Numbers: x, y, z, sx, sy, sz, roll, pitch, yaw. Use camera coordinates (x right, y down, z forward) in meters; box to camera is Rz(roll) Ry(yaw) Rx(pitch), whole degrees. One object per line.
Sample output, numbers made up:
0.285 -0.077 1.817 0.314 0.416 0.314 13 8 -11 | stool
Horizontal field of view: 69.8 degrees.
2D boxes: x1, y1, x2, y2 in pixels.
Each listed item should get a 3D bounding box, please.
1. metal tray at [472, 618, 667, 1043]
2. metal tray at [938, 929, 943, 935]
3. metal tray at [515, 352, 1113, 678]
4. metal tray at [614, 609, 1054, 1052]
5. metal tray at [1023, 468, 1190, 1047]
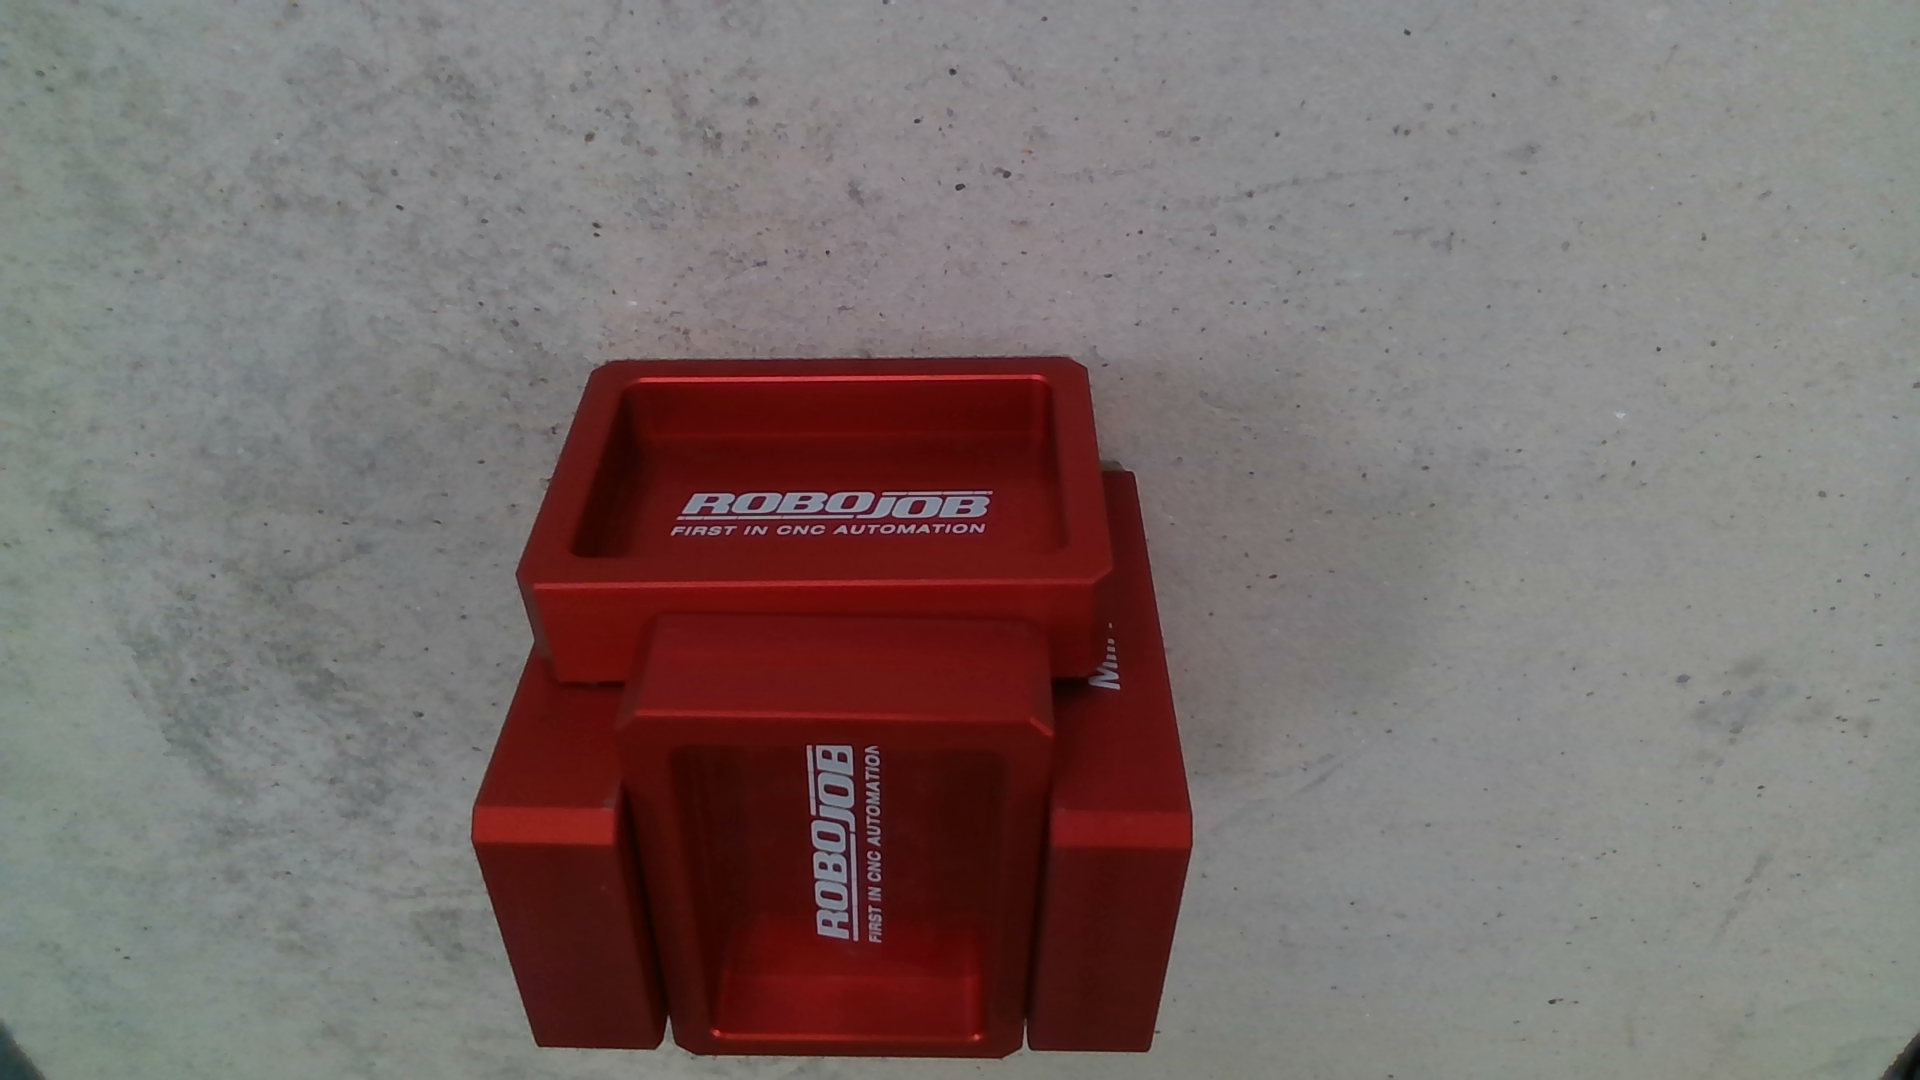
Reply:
-0.088 0.052 0.364 0.030 0.130 0.090 1 130 0 | metal tray
-0.026 0.090 0.422 0.130 0.090 0.030 0 129 -2 | metal tray
-0.032 -0.009 0.338 0.130 0.090 0.030 -1 131 0 | metal tray
-0.027 0.075 0.332 0.090 0.030 0.130 1 130 -1 | metal tray
0.032 0.053 0.364 0.030 0.130 0.090 1 130 -1 | metal tray
